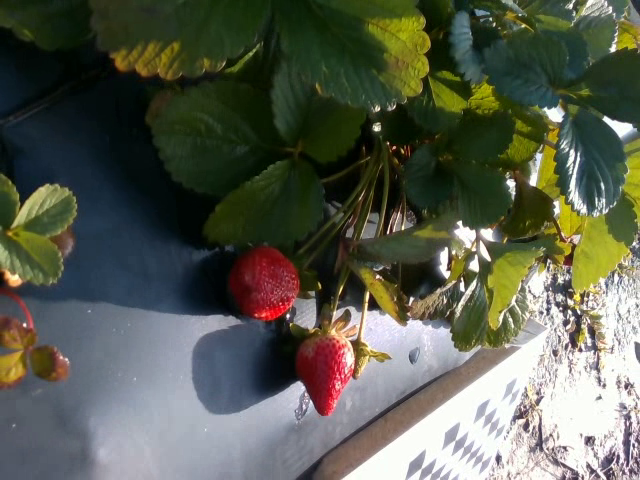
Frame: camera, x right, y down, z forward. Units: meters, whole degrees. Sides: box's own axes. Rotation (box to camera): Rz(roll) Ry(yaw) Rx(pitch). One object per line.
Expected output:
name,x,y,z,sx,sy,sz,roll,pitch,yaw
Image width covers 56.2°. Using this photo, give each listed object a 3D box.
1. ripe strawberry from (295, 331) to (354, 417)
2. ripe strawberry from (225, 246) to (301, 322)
ripe strawberry,0.005,0.082,0.353,0.038,0.053,0.043,-13,-32,22
ripe strawberry,-0.031,0.027,0.331,0.039,0.048,0.054,22,14,14
